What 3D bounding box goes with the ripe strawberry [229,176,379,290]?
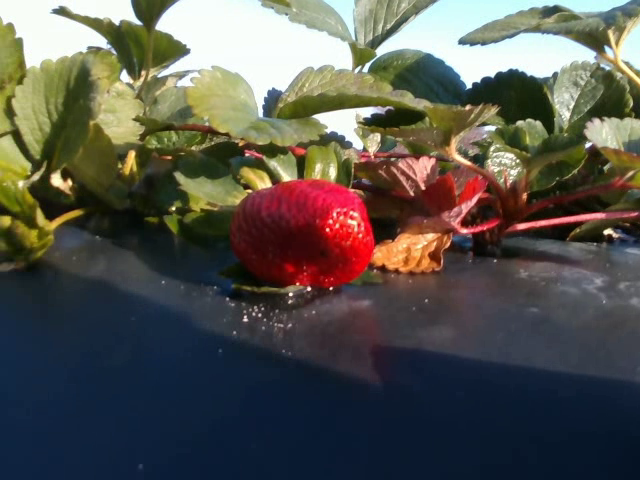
[{"bbox_3d":[-0.004,-0.004,0.152,0.041,0.041,0.056,-31,6,-19],"label":"ripe strawberry"}]
